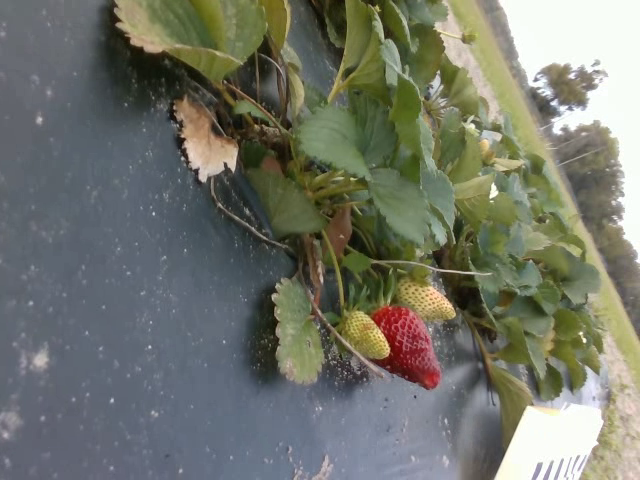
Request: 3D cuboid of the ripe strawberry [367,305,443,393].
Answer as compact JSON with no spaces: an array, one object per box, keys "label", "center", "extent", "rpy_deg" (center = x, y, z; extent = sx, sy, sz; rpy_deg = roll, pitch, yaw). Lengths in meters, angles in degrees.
[{"label":"ripe strawberry","center":[0.049,0.065,0.332],"extent":[0.046,0.046,0.059],"rpy_deg":[16,26,-52]}]
